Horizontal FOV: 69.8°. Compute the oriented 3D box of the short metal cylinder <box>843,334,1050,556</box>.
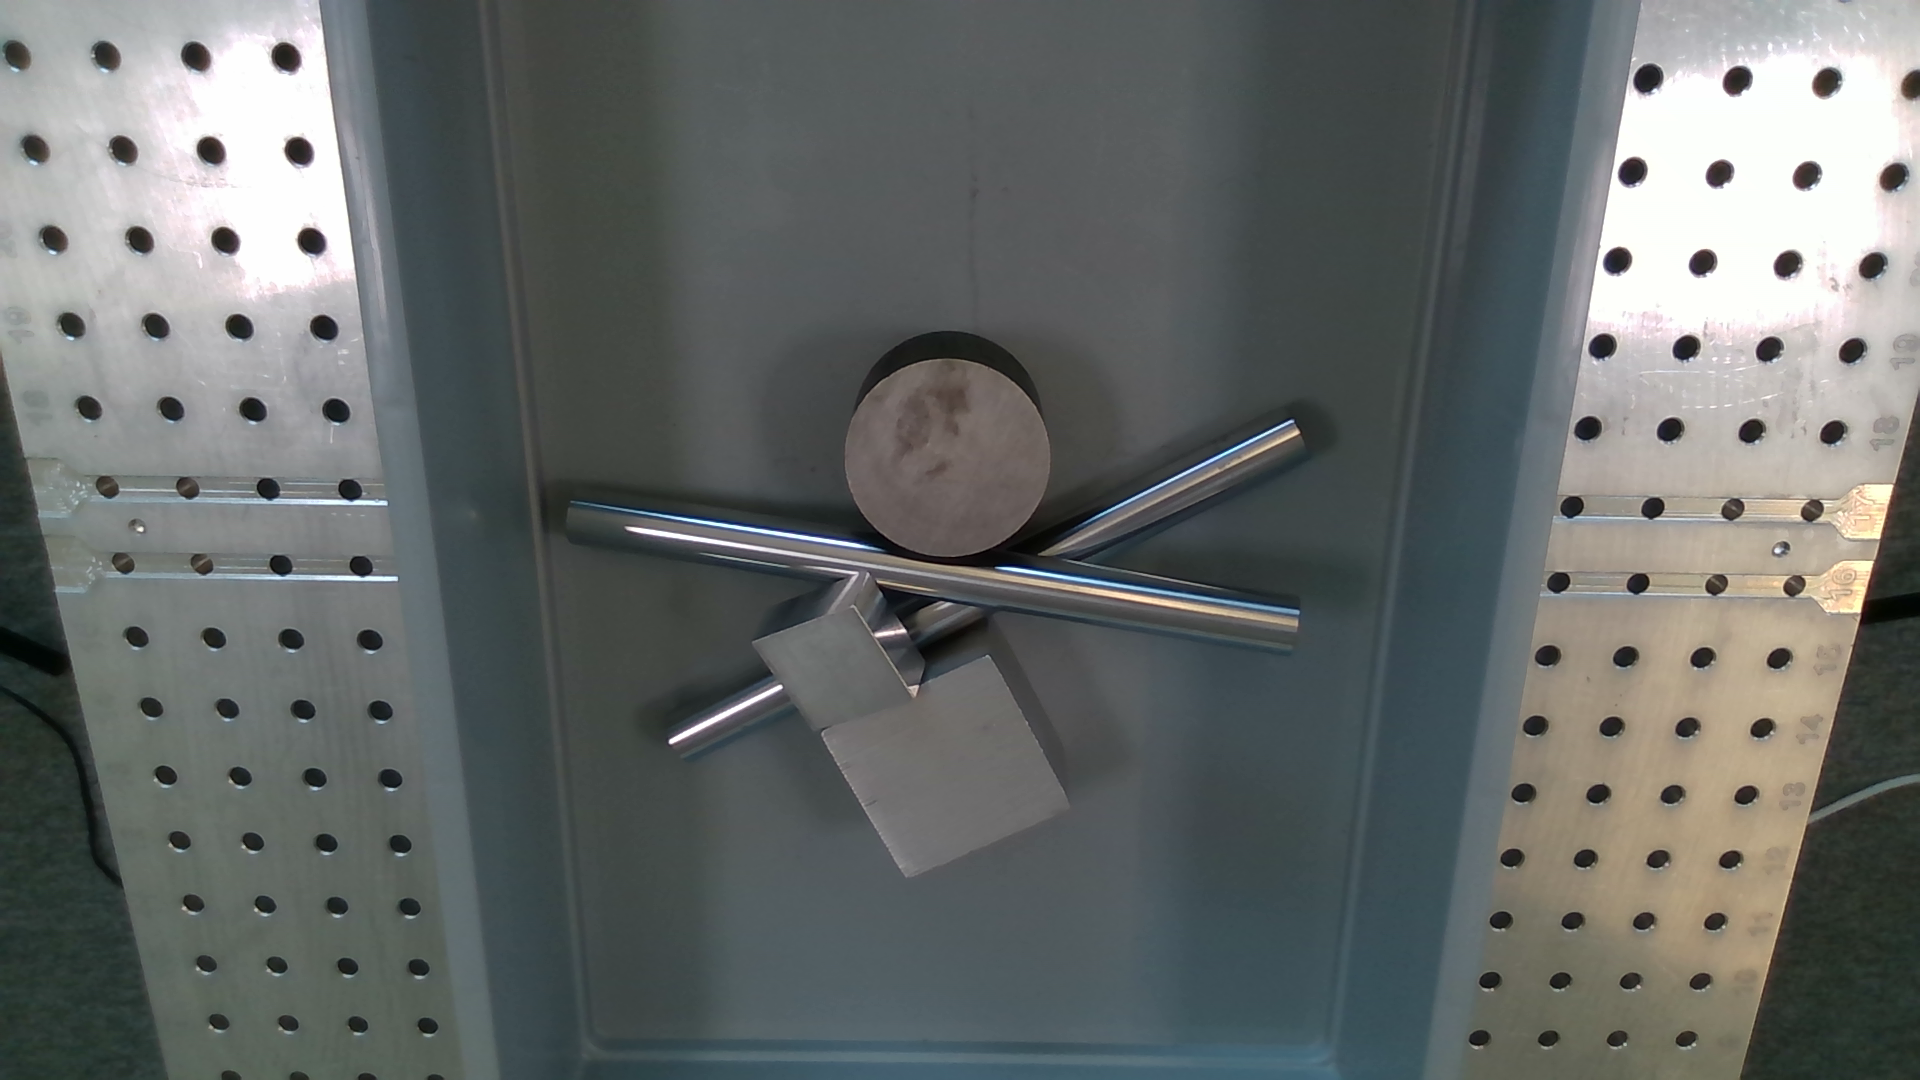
[{"bbox_3d":[-0.005,-0.040,0.556,0.080,0.050,0.080,0,111,0],"label":"short metal cylinder"}]

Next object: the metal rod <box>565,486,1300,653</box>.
[{"bbox_3d":[-0.014,0.012,0.567,0.300,0.025,0.025,8,110,5],"label":"metal rod"}]

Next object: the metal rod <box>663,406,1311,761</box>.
[{"bbox_3d":[0.006,0.022,0.592,0.300,0.025,0.025,-26,108,10],"label":"metal rod"}]

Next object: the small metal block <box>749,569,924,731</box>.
[{"bbox_3d":[-0.050,0.046,0.567,0.050,0.025,0.050,-20,118,23],"label":"small metal block"}]

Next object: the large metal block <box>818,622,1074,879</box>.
[{"bbox_3d":[-0.005,0.088,0.603,0.080,0.050,0.080,-26,108,9],"label":"large metal block"}]
